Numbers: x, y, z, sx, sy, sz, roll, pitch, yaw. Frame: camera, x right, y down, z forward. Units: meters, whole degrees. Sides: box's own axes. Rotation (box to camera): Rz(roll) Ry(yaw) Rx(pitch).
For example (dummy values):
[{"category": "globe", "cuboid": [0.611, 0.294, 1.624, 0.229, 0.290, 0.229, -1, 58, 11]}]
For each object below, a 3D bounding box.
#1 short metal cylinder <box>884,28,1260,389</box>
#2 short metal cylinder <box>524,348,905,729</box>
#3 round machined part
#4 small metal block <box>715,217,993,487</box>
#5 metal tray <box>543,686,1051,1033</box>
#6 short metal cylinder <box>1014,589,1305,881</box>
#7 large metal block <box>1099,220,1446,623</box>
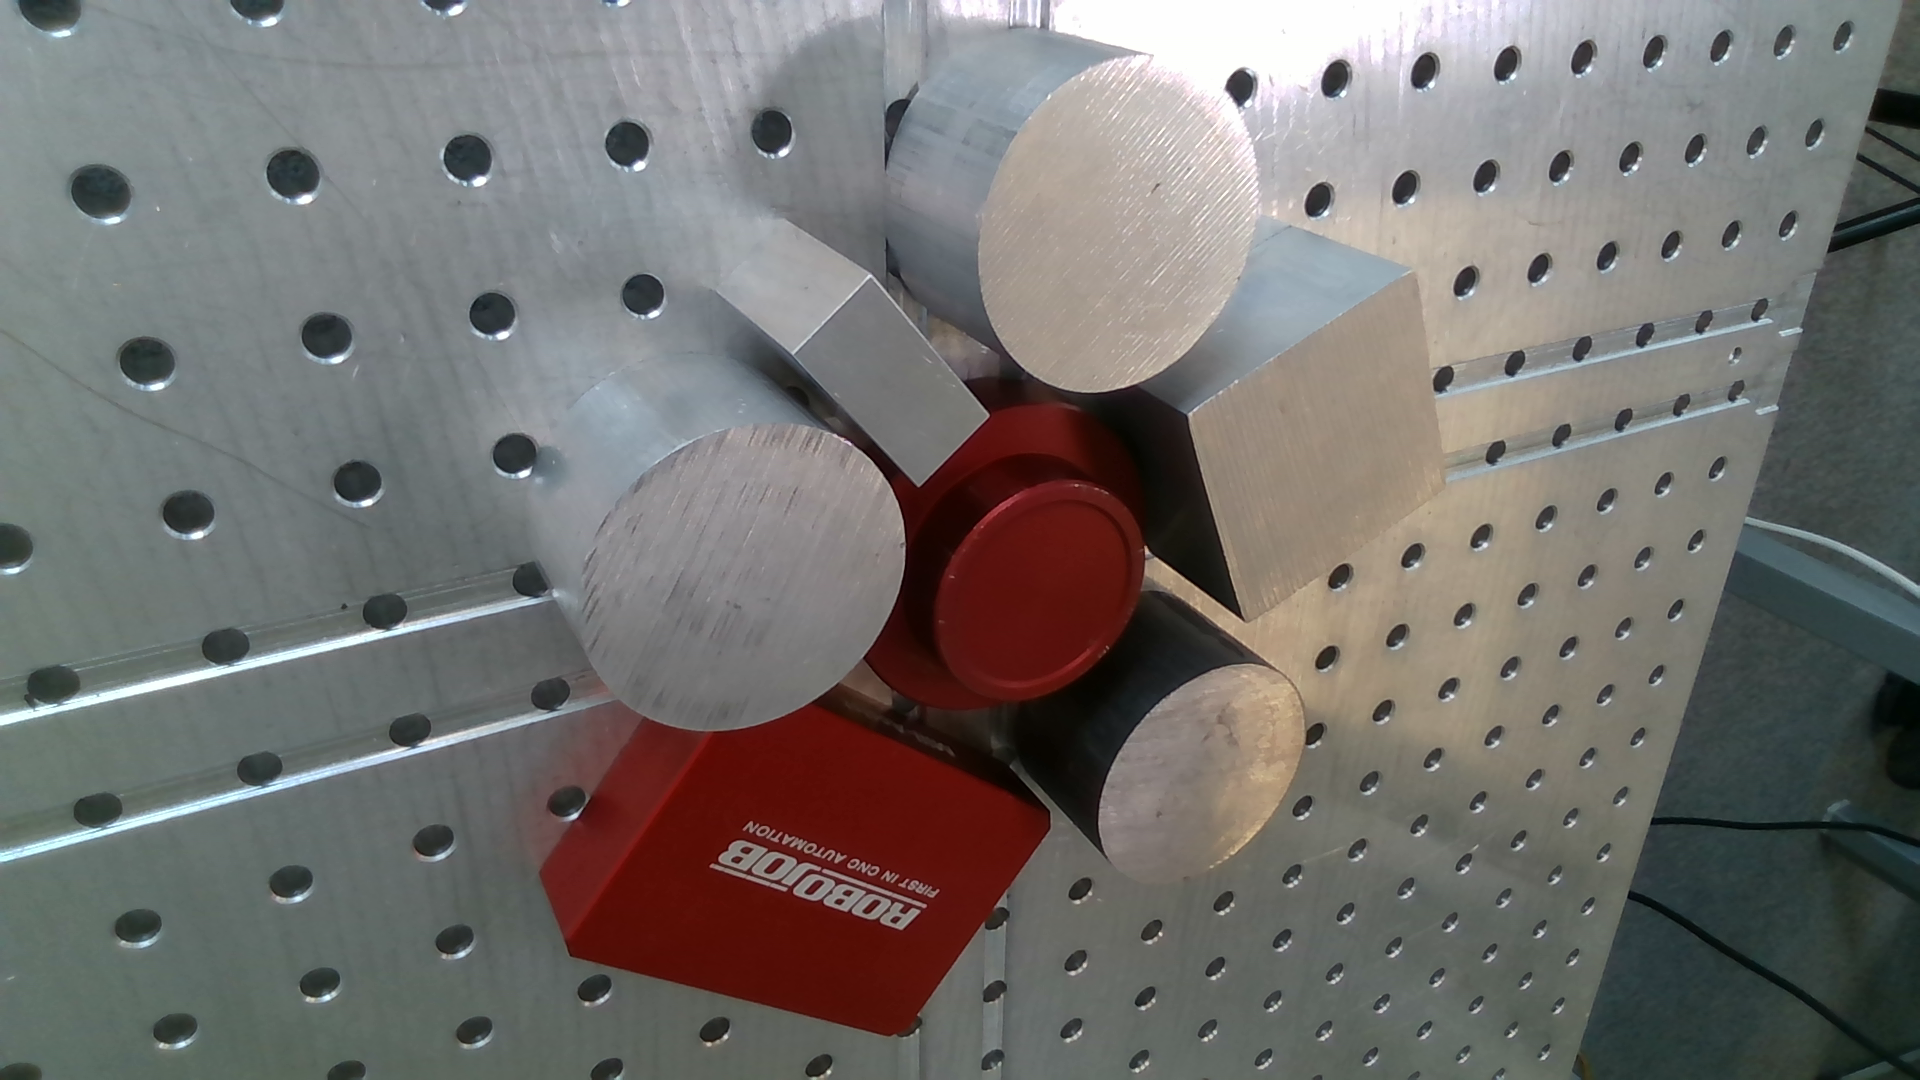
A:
[{"category": "short metal cylinder", "cuboid": [0.028, -0.084, 0.347, 0.080, 0.050, 0.080, -14, 122, -25]}, {"category": "short metal cylinder", "cuboid": [-0.060, -0.001, 0.338, 0.080, 0.050, 0.080, -14, 122, -25]}, {"category": "round machined part", "cuboid": [0.013, 0.006, 0.393, 0.098, 0.042, 0.098, -14, 122, -25]}, {"category": "small metal block", "cuboid": [-0.026, -0.046, 0.335, 0.025, 0.050, 0.050, -46, 129, -3]}, {"category": "metal tray", "cuboid": [-0.044, 0.092, 0.411, 0.130, 0.030, 0.090, 31, 96, -39]}, {"category": "short metal cylinder", "cuboid": [0.065, 0.063, 0.450, 0.080, 0.050, 0.080, -14, 122, -25]}, {"category": "large metal block", "cuboid": [0.094, -0.036, 0.415, 0.080, 0.050, 0.080, -33, 128, -12]}]
